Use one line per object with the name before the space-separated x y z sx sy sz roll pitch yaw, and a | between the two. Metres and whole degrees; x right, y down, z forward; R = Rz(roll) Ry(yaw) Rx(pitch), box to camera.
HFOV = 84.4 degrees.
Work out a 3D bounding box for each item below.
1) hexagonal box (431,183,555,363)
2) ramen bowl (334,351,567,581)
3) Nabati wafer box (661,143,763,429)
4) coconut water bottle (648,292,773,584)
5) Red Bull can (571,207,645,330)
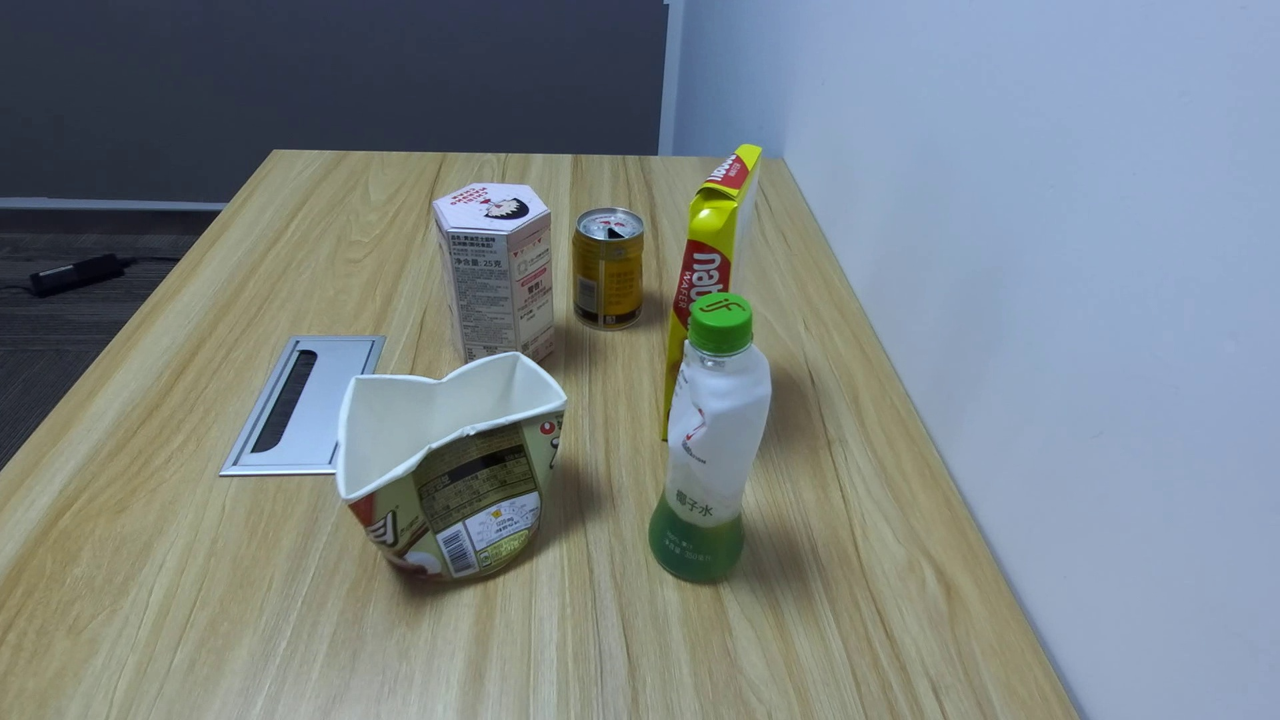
hexagonal box | -0.117 -0.065 0.576 0.083 0.136 0.091 24 44 24
ramen bowl | -0.112 0.066 0.449 0.128 0.093 0.111 -9 42 -15
Nabati wafer box | 0.046 -0.041 0.500 0.042 0.205 0.113 12 37 6
coconut water bottle | 0.041 0.046 0.405 0.069 0.187 0.069 2 39 -1
Red Bull can | -0.028 -0.081 0.638 0.068 0.093 0.068 1 34 0
